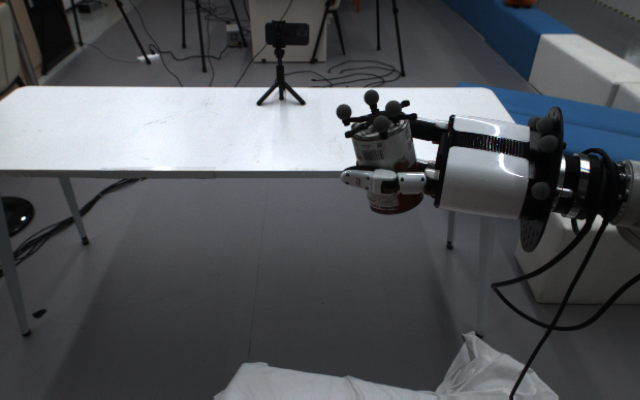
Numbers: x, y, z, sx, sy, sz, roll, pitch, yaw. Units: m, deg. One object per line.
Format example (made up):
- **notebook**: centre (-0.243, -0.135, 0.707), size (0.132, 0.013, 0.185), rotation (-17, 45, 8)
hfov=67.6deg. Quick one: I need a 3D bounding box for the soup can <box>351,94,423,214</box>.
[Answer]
- **soup can**: centre (0.080, -0.044, 0.560), size (0.067, 0.101, 0.067), rotation (-13, 31, 8)
